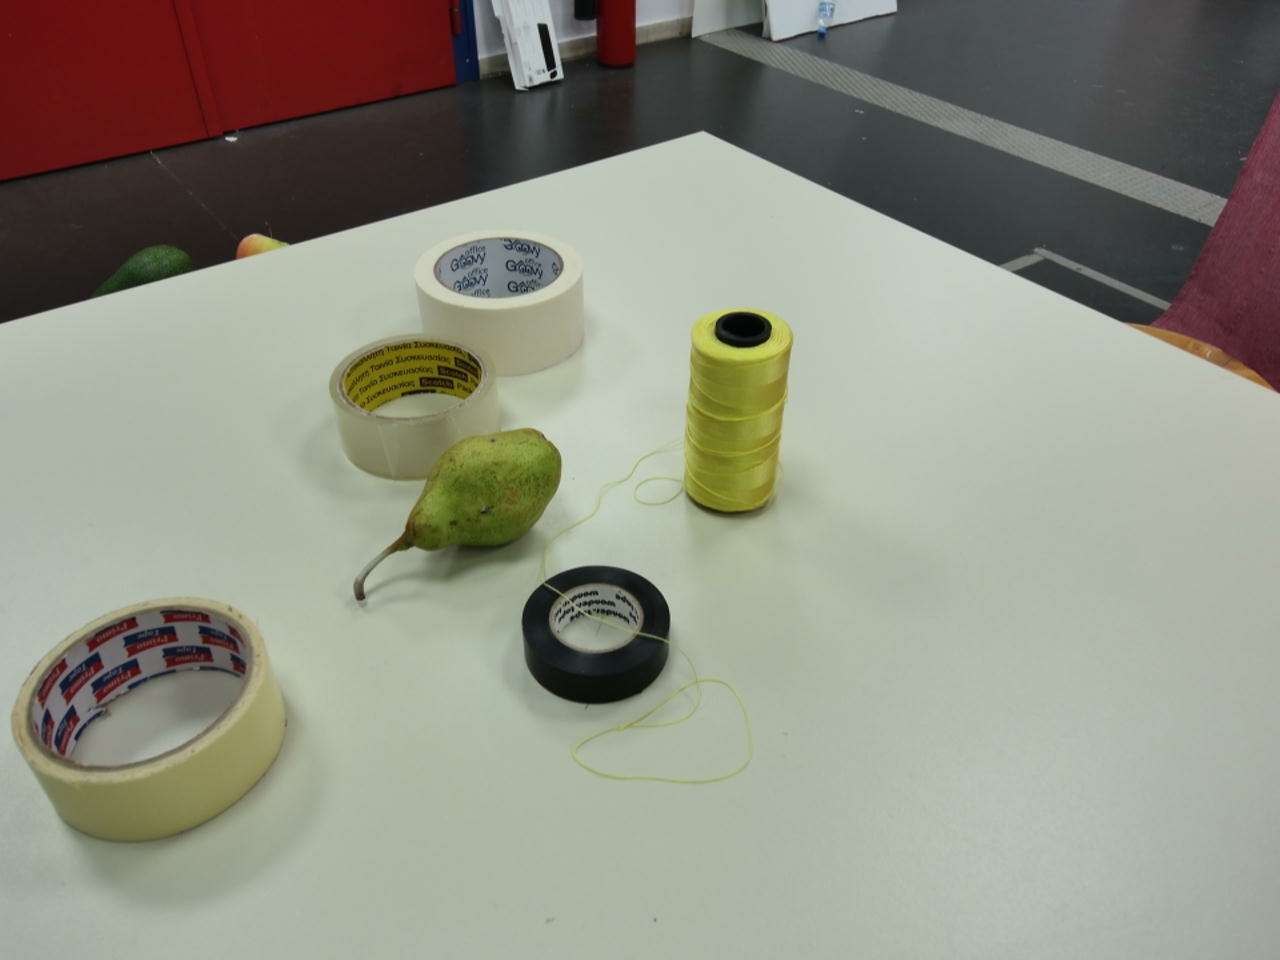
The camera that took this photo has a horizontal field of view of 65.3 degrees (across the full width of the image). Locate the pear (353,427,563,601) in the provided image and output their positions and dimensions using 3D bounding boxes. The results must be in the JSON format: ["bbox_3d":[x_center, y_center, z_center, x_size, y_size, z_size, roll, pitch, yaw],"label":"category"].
[{"bbox_3d":[-0.091,0.009,0.486,0.111,0.056,0.056,-14,40,-18],"label":"pear"}]
